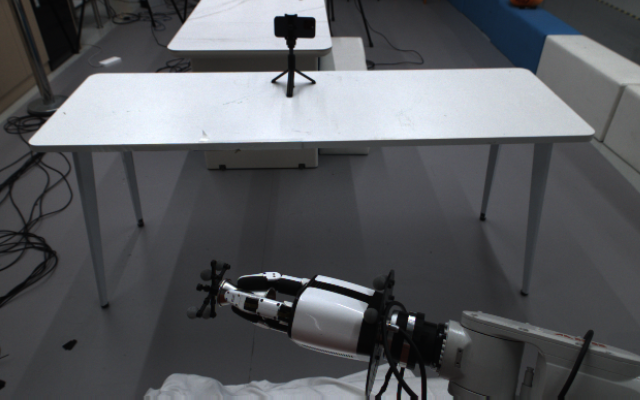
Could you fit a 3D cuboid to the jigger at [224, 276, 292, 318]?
[{"bbox_3d":[-0.094,0.129,0.655,0.071,0.043,0.043,10,35,16],"label":"jigger"}]
